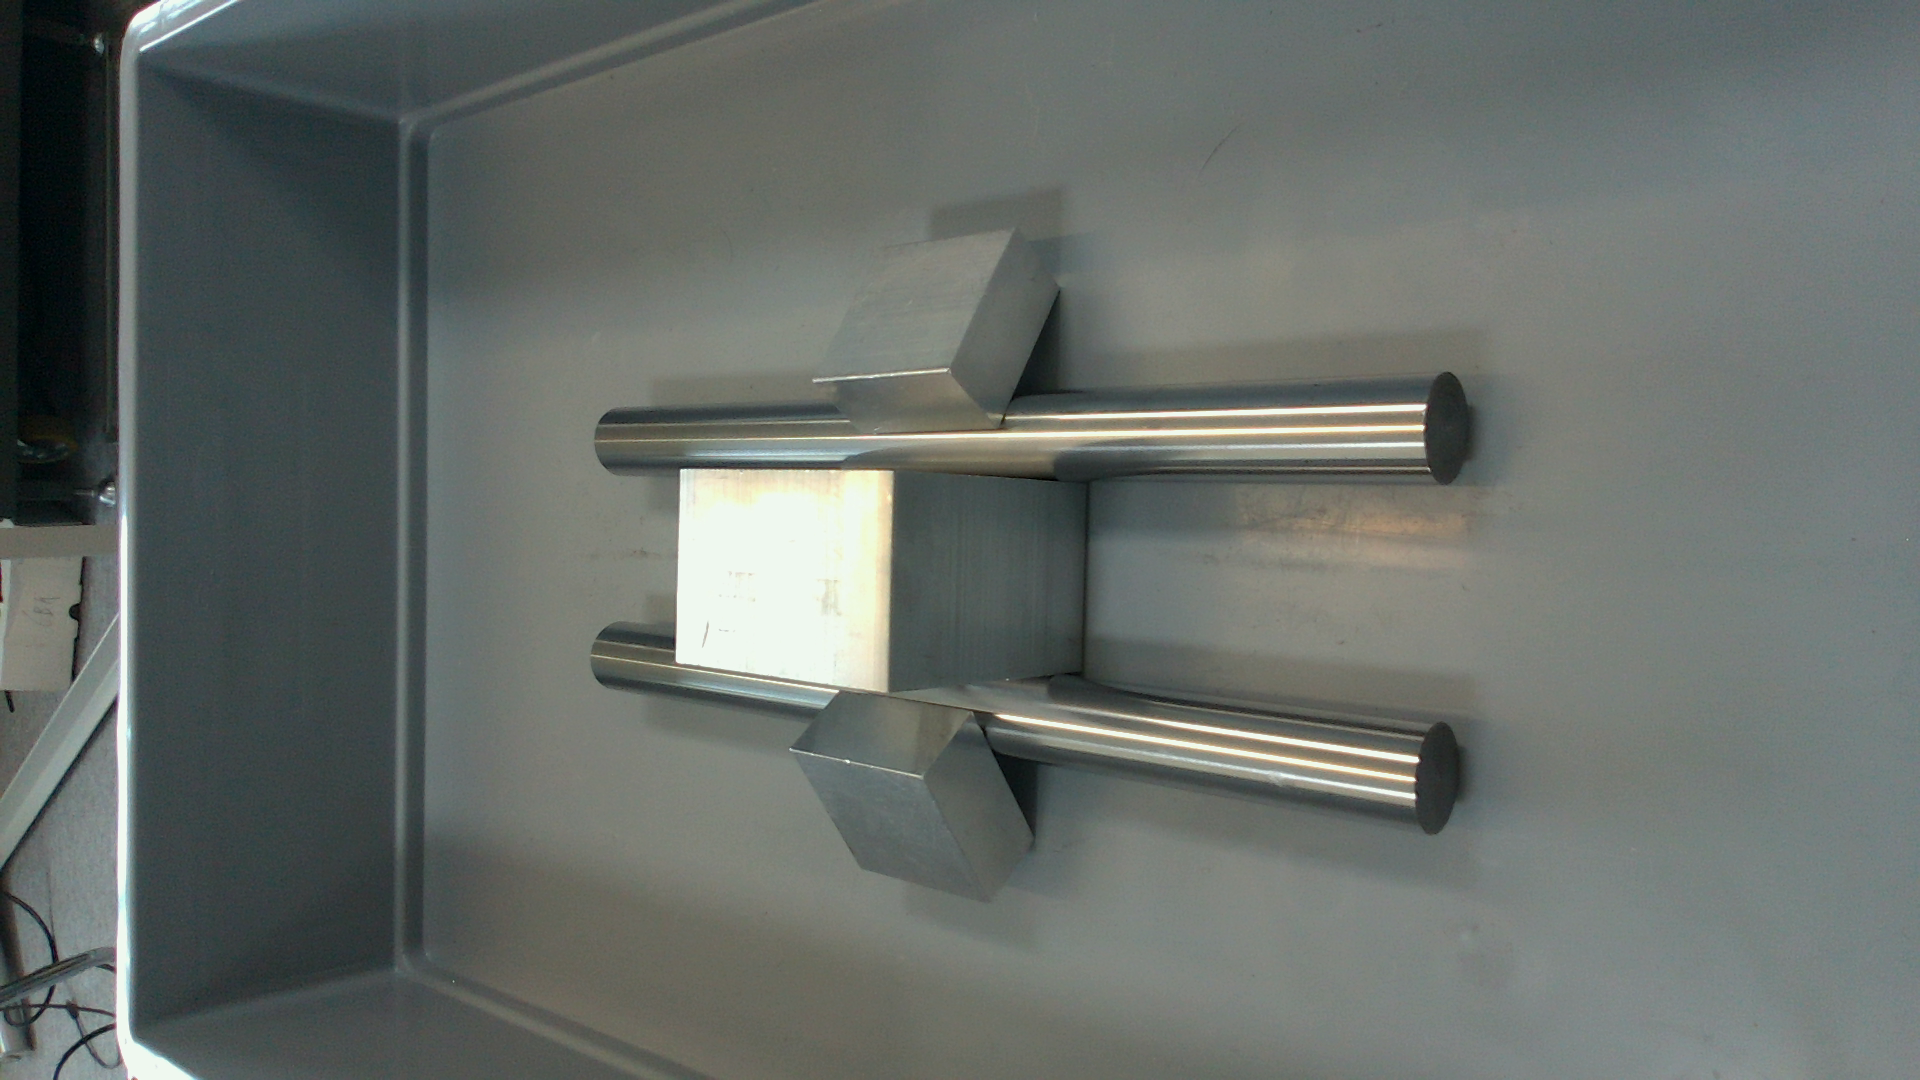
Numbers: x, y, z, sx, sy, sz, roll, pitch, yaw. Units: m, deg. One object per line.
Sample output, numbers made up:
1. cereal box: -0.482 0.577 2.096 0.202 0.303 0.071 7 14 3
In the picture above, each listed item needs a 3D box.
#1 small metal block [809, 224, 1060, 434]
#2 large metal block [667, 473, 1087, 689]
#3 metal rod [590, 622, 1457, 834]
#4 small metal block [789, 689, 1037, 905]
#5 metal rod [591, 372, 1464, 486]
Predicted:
1. small metal block: -0.007 -0.058 0.384 0.050 0.025 0.050 1 56 40
2. large metal block: -0.022 0.008 0.374 0.080 0.080 0.050 2 92 40
3. metal rod: -0.009 0.047 0.401 0.299 0.025 0.025 3 92 40
4. small metal block: -0.013 0.072 0.388 0.050 0.025 0.050 4 130 40
5. metal rod: -0.008 -0.030 0.399 0.299 0.025 0.025 3 92 40
